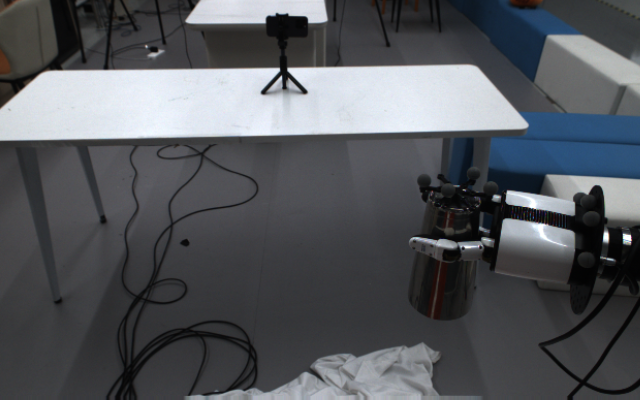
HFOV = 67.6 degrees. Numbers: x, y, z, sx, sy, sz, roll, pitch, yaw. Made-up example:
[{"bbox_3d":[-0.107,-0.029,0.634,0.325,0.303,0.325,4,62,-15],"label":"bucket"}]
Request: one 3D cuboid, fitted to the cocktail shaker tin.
[{"bbox_3d":[0.176,0.065,0.660,0.093,0.170,0.093,-1,32,1],"label":"cocktail shaker tin"}]
